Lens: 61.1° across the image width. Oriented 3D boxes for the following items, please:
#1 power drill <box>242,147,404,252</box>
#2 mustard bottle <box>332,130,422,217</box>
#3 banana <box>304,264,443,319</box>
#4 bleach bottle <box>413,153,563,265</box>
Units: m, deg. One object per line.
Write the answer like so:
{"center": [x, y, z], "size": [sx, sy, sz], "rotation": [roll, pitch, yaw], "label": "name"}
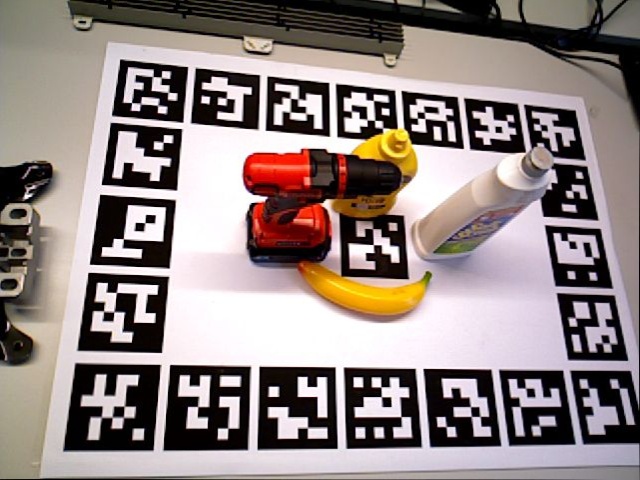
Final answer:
{"center": [-0.011, -0.050, 0.660], "size": [0.182, 0.191, 0.057], "rotation": [2, 62, -15], "label": "power drill"}
{"center": [0.084, -0.093, 0.716], "size": [0.095, 0.195, 0.058], "rotation": [5, 68, -12], "label": "mustard bottle"}
{"center": [0.073, 0.068, 0.738], "size": [0.196, 0.039, 0.074], "rotation": [6, 73, -8], "label": "banana"}
{"center": [0.215, -0.038, 0.700], "size": [0.101, 0.255, 0.067], "rotation": [-4, 71, -14], "label": "bleach bottle"}
